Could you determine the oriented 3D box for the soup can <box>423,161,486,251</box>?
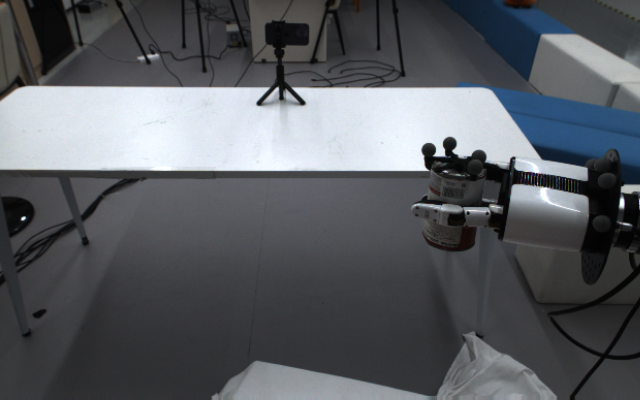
[{"bbox_3d":[0.171,0.004,0.614,0.067,0.101,0.067,1,25,0],"label":"soup can"}]
